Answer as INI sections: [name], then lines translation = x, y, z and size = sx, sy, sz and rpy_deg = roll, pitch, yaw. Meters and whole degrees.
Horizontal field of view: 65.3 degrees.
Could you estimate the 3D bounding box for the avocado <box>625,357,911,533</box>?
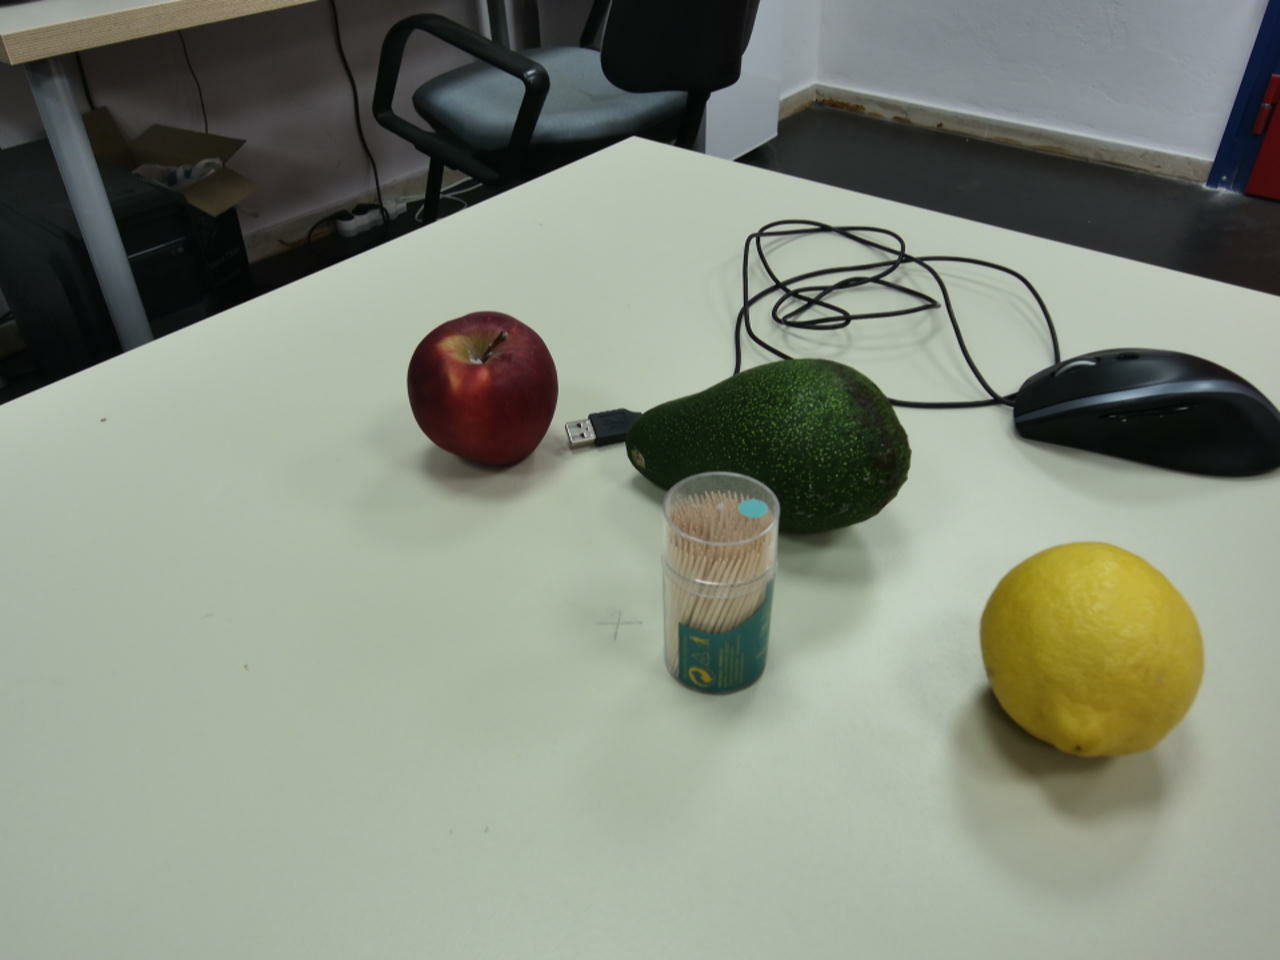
[avocado]
translation = 0.057, -0.021, 0.427
size = 0.074, 0.076, 0.123
rpy_deg = -30, 45, -33
